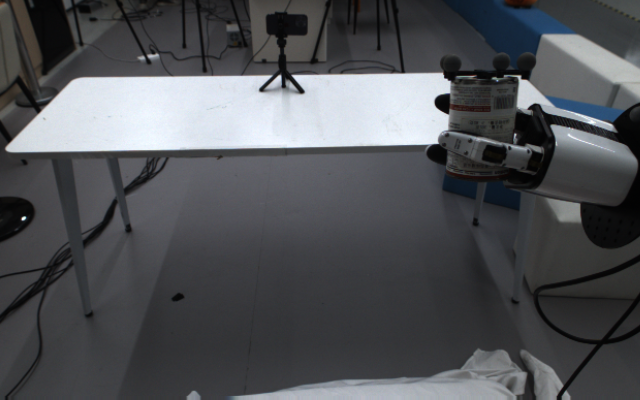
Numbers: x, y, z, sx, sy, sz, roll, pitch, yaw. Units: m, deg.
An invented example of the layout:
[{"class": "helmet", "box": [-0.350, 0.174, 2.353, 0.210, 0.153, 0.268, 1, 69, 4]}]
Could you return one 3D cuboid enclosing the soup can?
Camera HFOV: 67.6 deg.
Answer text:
[{"class": "soup can", "box": [0.171, -0.076, 0.506, 0.067, 0.101, 0.067, -2, 17, 0]}]
